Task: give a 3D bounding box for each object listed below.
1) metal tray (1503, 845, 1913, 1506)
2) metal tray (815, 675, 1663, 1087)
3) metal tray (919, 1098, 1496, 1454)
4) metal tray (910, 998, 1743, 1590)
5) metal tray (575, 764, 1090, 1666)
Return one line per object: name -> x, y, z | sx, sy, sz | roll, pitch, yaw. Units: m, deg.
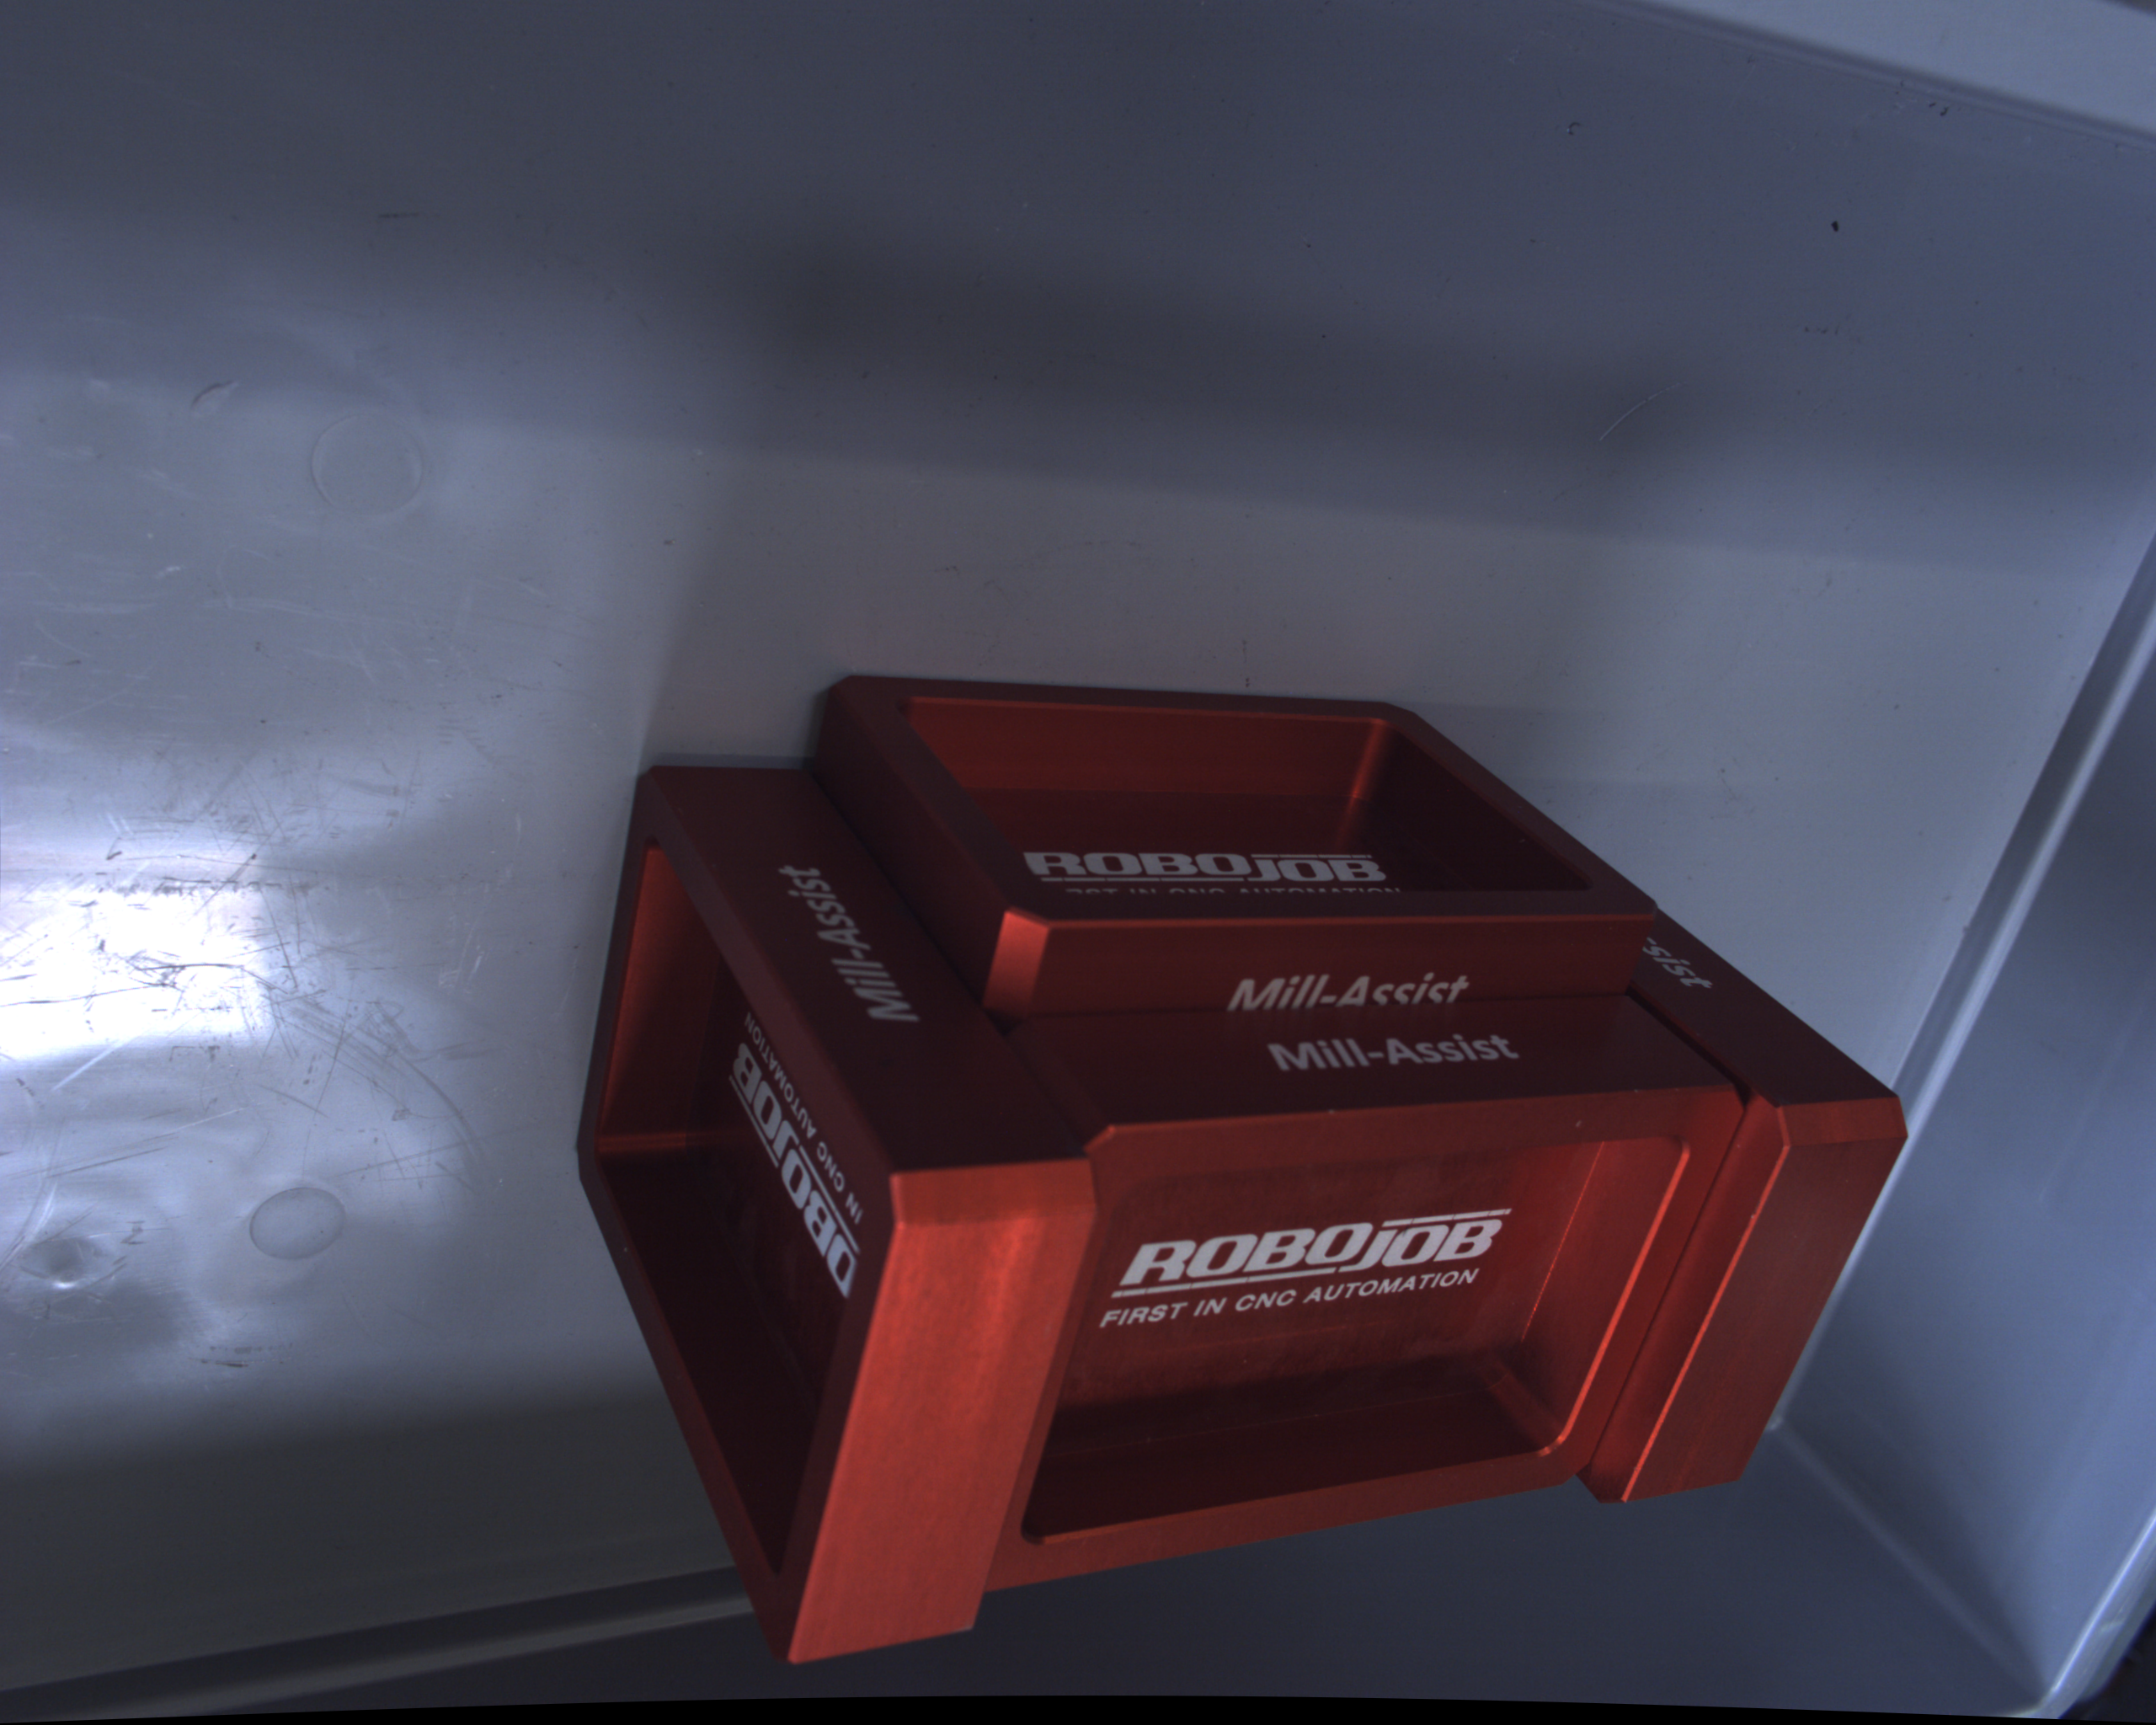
metal tray -> 0.096, 0.052, 0.422 | 0.030, 0.130, 0.089 | 1, 119, -29
metal tray -> 0.027, 0.001, 0.378 | 0.131, 0.090, 0.030 | 0, 119, -28
metal tray -> 0.006, 0.079, 0.415 | 0.131, 0.090, 0.030 | 0, 118, -29
metal tray -> 0.041, 0.070, 0.352 | 0.131, 0.030, 0.089 | 1, 118, -29
metal tray -> -0.048, 0.051, 0.344 | 0.030, 0.130, 0.089 | 0, 119, -29
